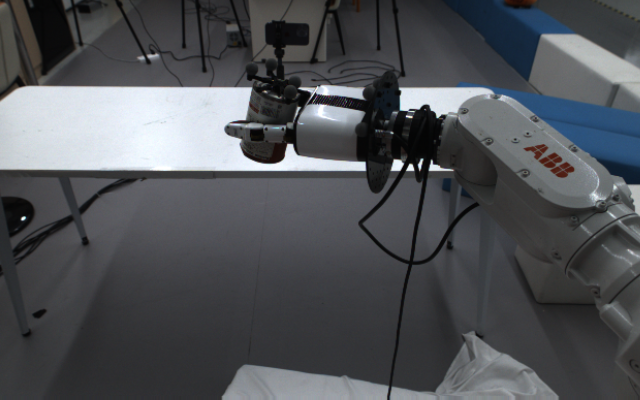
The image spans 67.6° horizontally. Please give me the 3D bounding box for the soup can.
[{"bbox_3d":[-0.071,-0.111,0.683,0.067,0.101,0.067,13,35,-9],"label":"soup can"}]
